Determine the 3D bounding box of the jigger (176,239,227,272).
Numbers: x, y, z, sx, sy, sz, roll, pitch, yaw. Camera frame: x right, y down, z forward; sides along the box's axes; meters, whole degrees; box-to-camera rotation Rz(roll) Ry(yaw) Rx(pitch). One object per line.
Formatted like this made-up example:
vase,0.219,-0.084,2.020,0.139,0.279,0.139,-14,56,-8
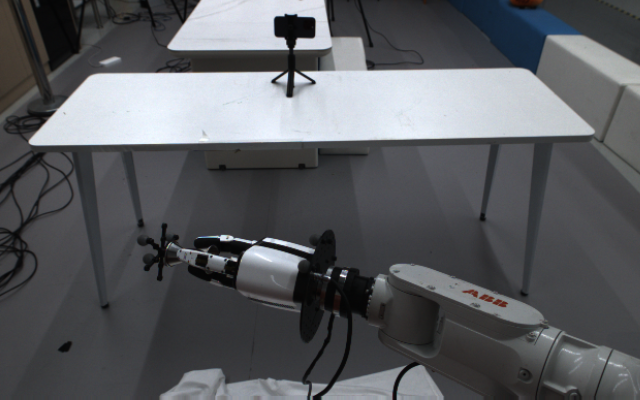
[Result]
jigger,-0.185,0.080,0.729,0.071,0.043,0.043,5,34,15
